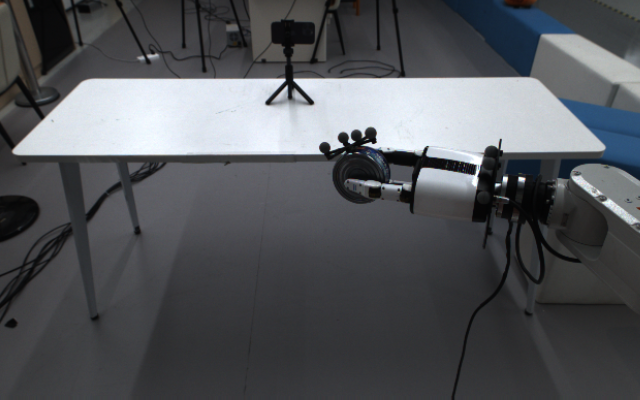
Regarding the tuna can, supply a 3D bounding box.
[{"bbox_3d":[0.067,-0.033,0.743,0.085,0.085,0.034,15,29,17],"label":"tuna can"}]
